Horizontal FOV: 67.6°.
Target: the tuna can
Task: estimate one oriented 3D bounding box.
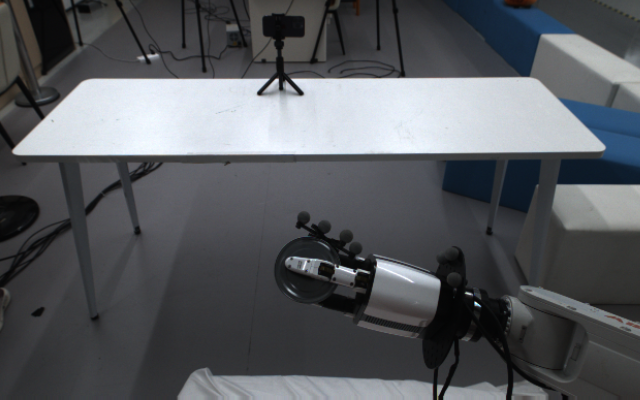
[{"bbox_3d":[-0.015,0.092,0.628,0.085,0.034,0.085,1,75,-4],"label":"tuna can"}]
